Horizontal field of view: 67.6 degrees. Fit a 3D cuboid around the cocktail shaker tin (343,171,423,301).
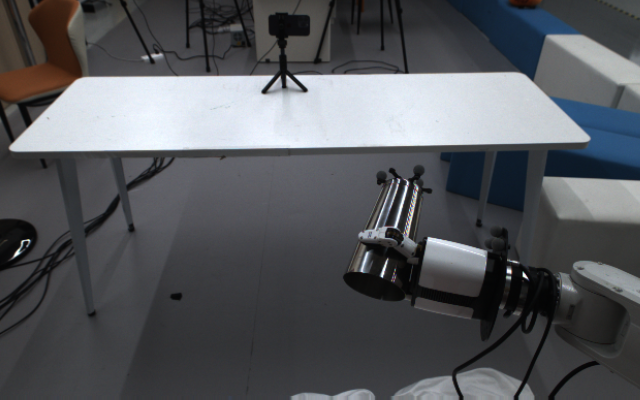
[{"bbox_3d":[0.102,0.054,0.724,0.093,0.093,0.170,14,60,16],"label":"cocktail shaker tin"}]
